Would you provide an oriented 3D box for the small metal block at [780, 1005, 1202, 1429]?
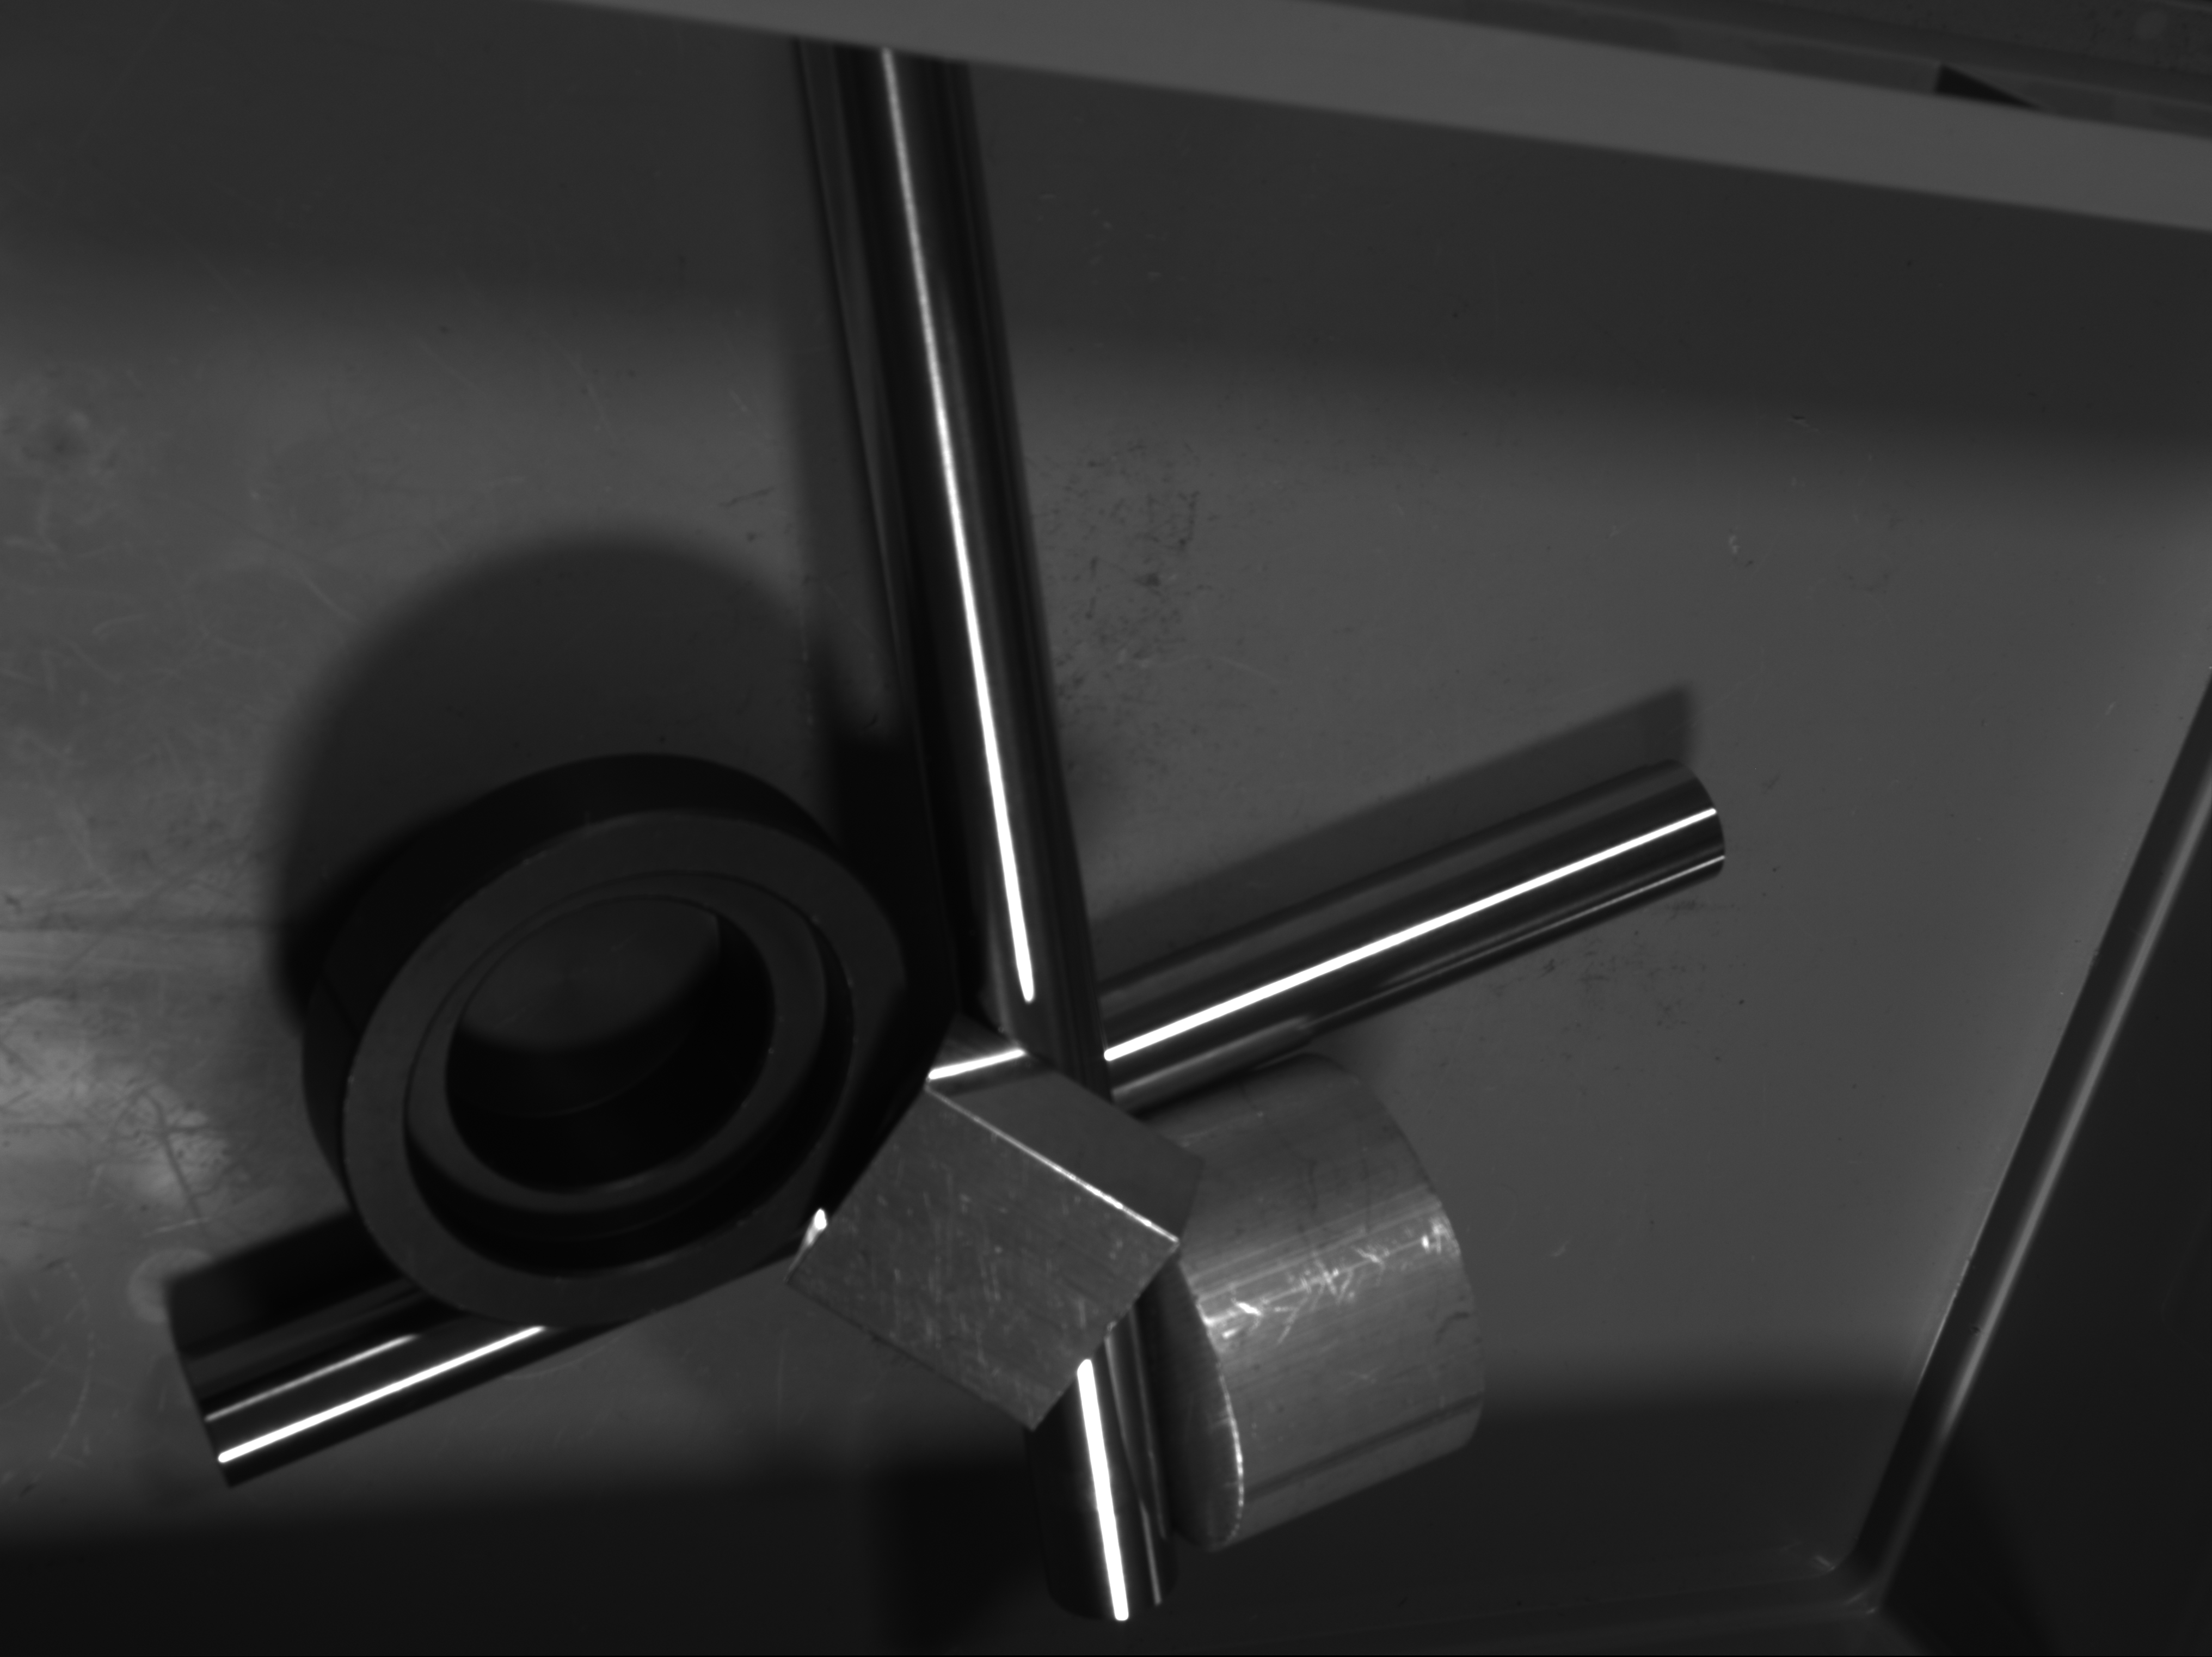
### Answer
[{"bbox_3d":[-0.020,0.067,0.626,0.050,0.025,0.050,32,120,-6],"label":"small metal block"}]

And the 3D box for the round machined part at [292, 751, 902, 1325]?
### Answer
[{"bbox_3d":[-0.087,0.030,0.607,0.098,0.042,0.098,-15,125,-22],"label":"round machined part"}]

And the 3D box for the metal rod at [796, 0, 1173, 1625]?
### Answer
[{"bbox_3d":[-0.017,0.009,0.622,0.025,0.025,0.300,-18,119,-20],"label":"metal rod"}]

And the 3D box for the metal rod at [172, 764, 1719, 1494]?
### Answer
[{"bbox_3d":[-0.021,0.050,0.669,0.300,0.025,0.025,-21,127,-18],"label":"metal rod"}]

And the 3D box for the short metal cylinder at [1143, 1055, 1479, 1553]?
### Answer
[{"bbox_3d":[0.027,0.088,0.684,0.050,0.080,0.080,-18,126,-20],"label":"short metal cylinder"}]
